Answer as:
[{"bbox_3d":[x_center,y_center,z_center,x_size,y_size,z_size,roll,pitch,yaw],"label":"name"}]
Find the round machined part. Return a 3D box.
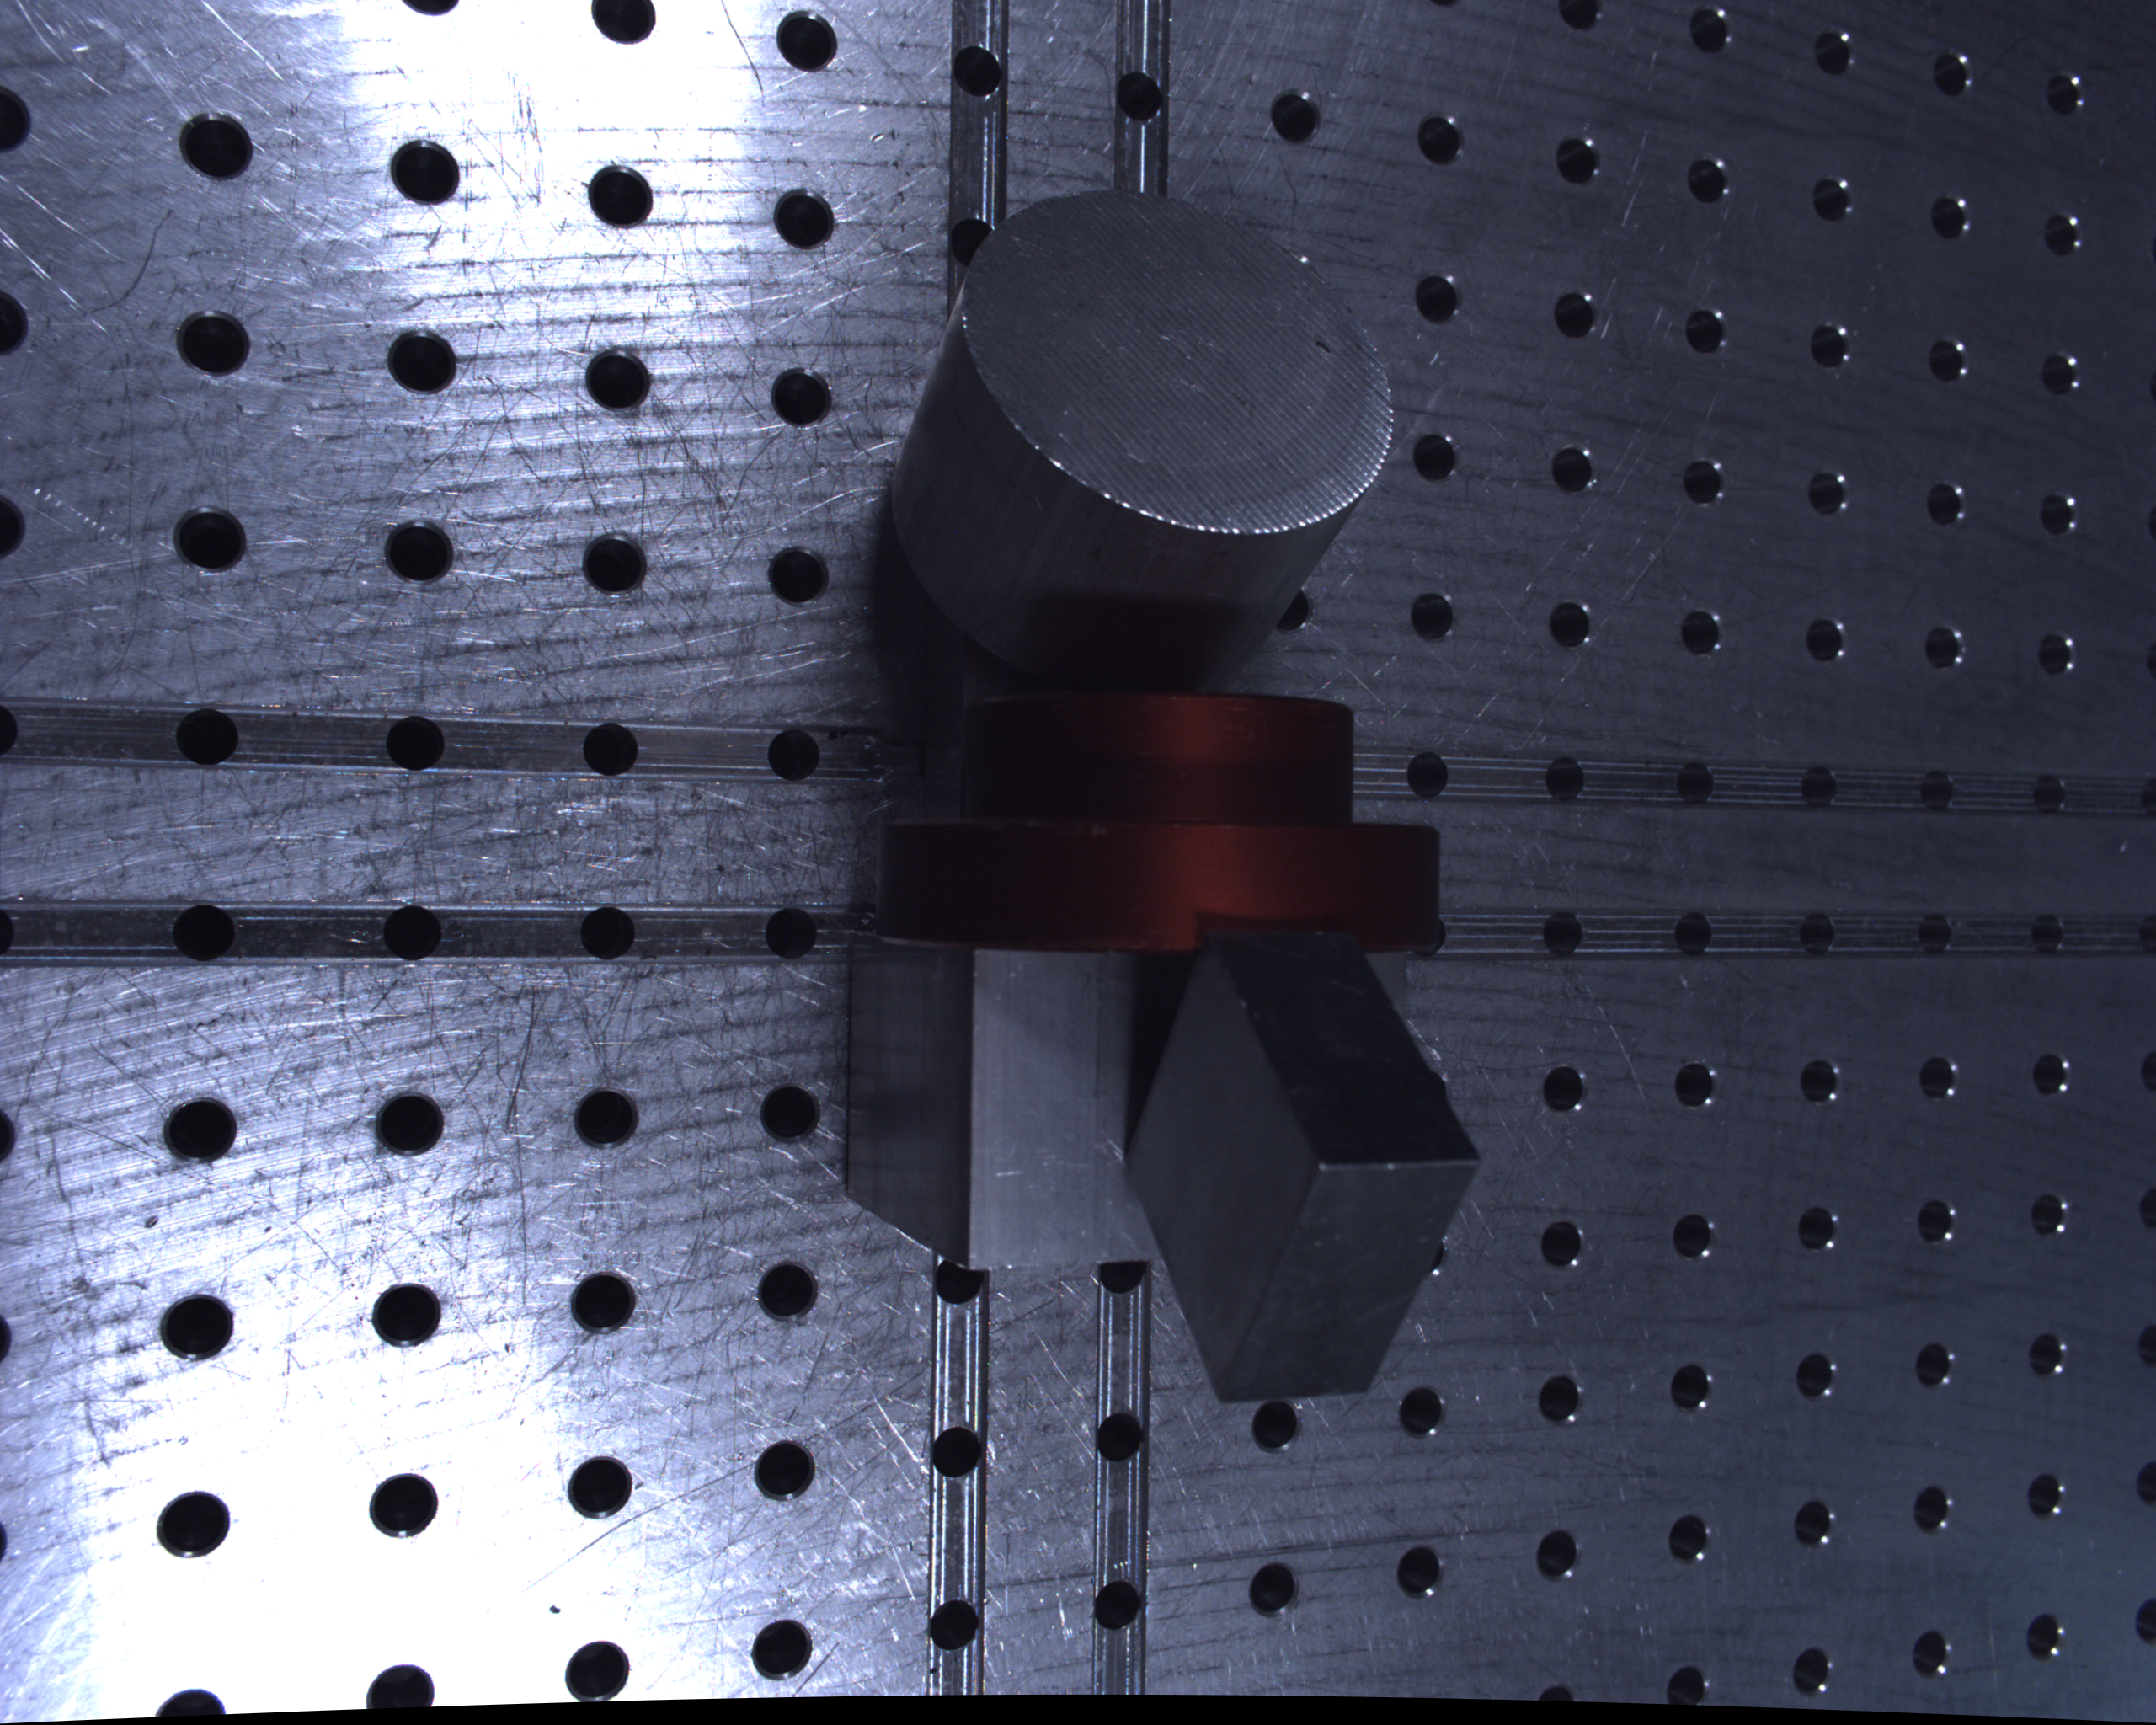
[{"bbox_3d":[0.014,-0.006,0.369,0.099,0.098,0.042,1,90,-20],"label":"round machined part"}]

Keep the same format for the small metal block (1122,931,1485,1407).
[{"bbox_3d":[0.032,0.045,0.315,0.025,0.050,0.050,1,128,-21],"label":"small metal block"}]

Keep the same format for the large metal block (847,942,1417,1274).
[{"bbox_3d":[0.007,0.041,0.386,0.081,0.080,0.050,1,90,-20],"label":"large metal block"}]

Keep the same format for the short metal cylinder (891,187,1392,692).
[{"bbox_3d":[0.011,-0.077,0.386,0.081,0.050,0.080,10,57,-15],"label":"short metal cylinder"}]

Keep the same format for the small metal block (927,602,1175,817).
[{"bbox_3d":[-0.002,-0.031,0.412,0.050,0.025,0.050,1,90,-21],"label":"small metal block"}]
